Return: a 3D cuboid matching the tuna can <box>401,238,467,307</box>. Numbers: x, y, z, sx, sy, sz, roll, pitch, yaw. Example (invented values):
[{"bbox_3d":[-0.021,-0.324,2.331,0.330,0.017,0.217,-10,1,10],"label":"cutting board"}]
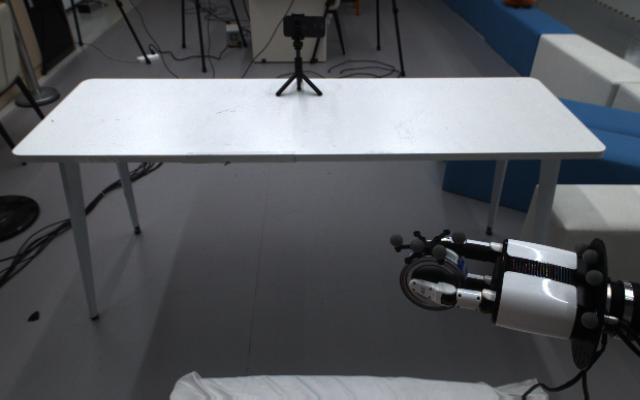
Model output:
[{"bbox_3d":[0.153,0.102,0.641,0.085,0.085,0.034,14,27,16],"label":"tuna can"}]
